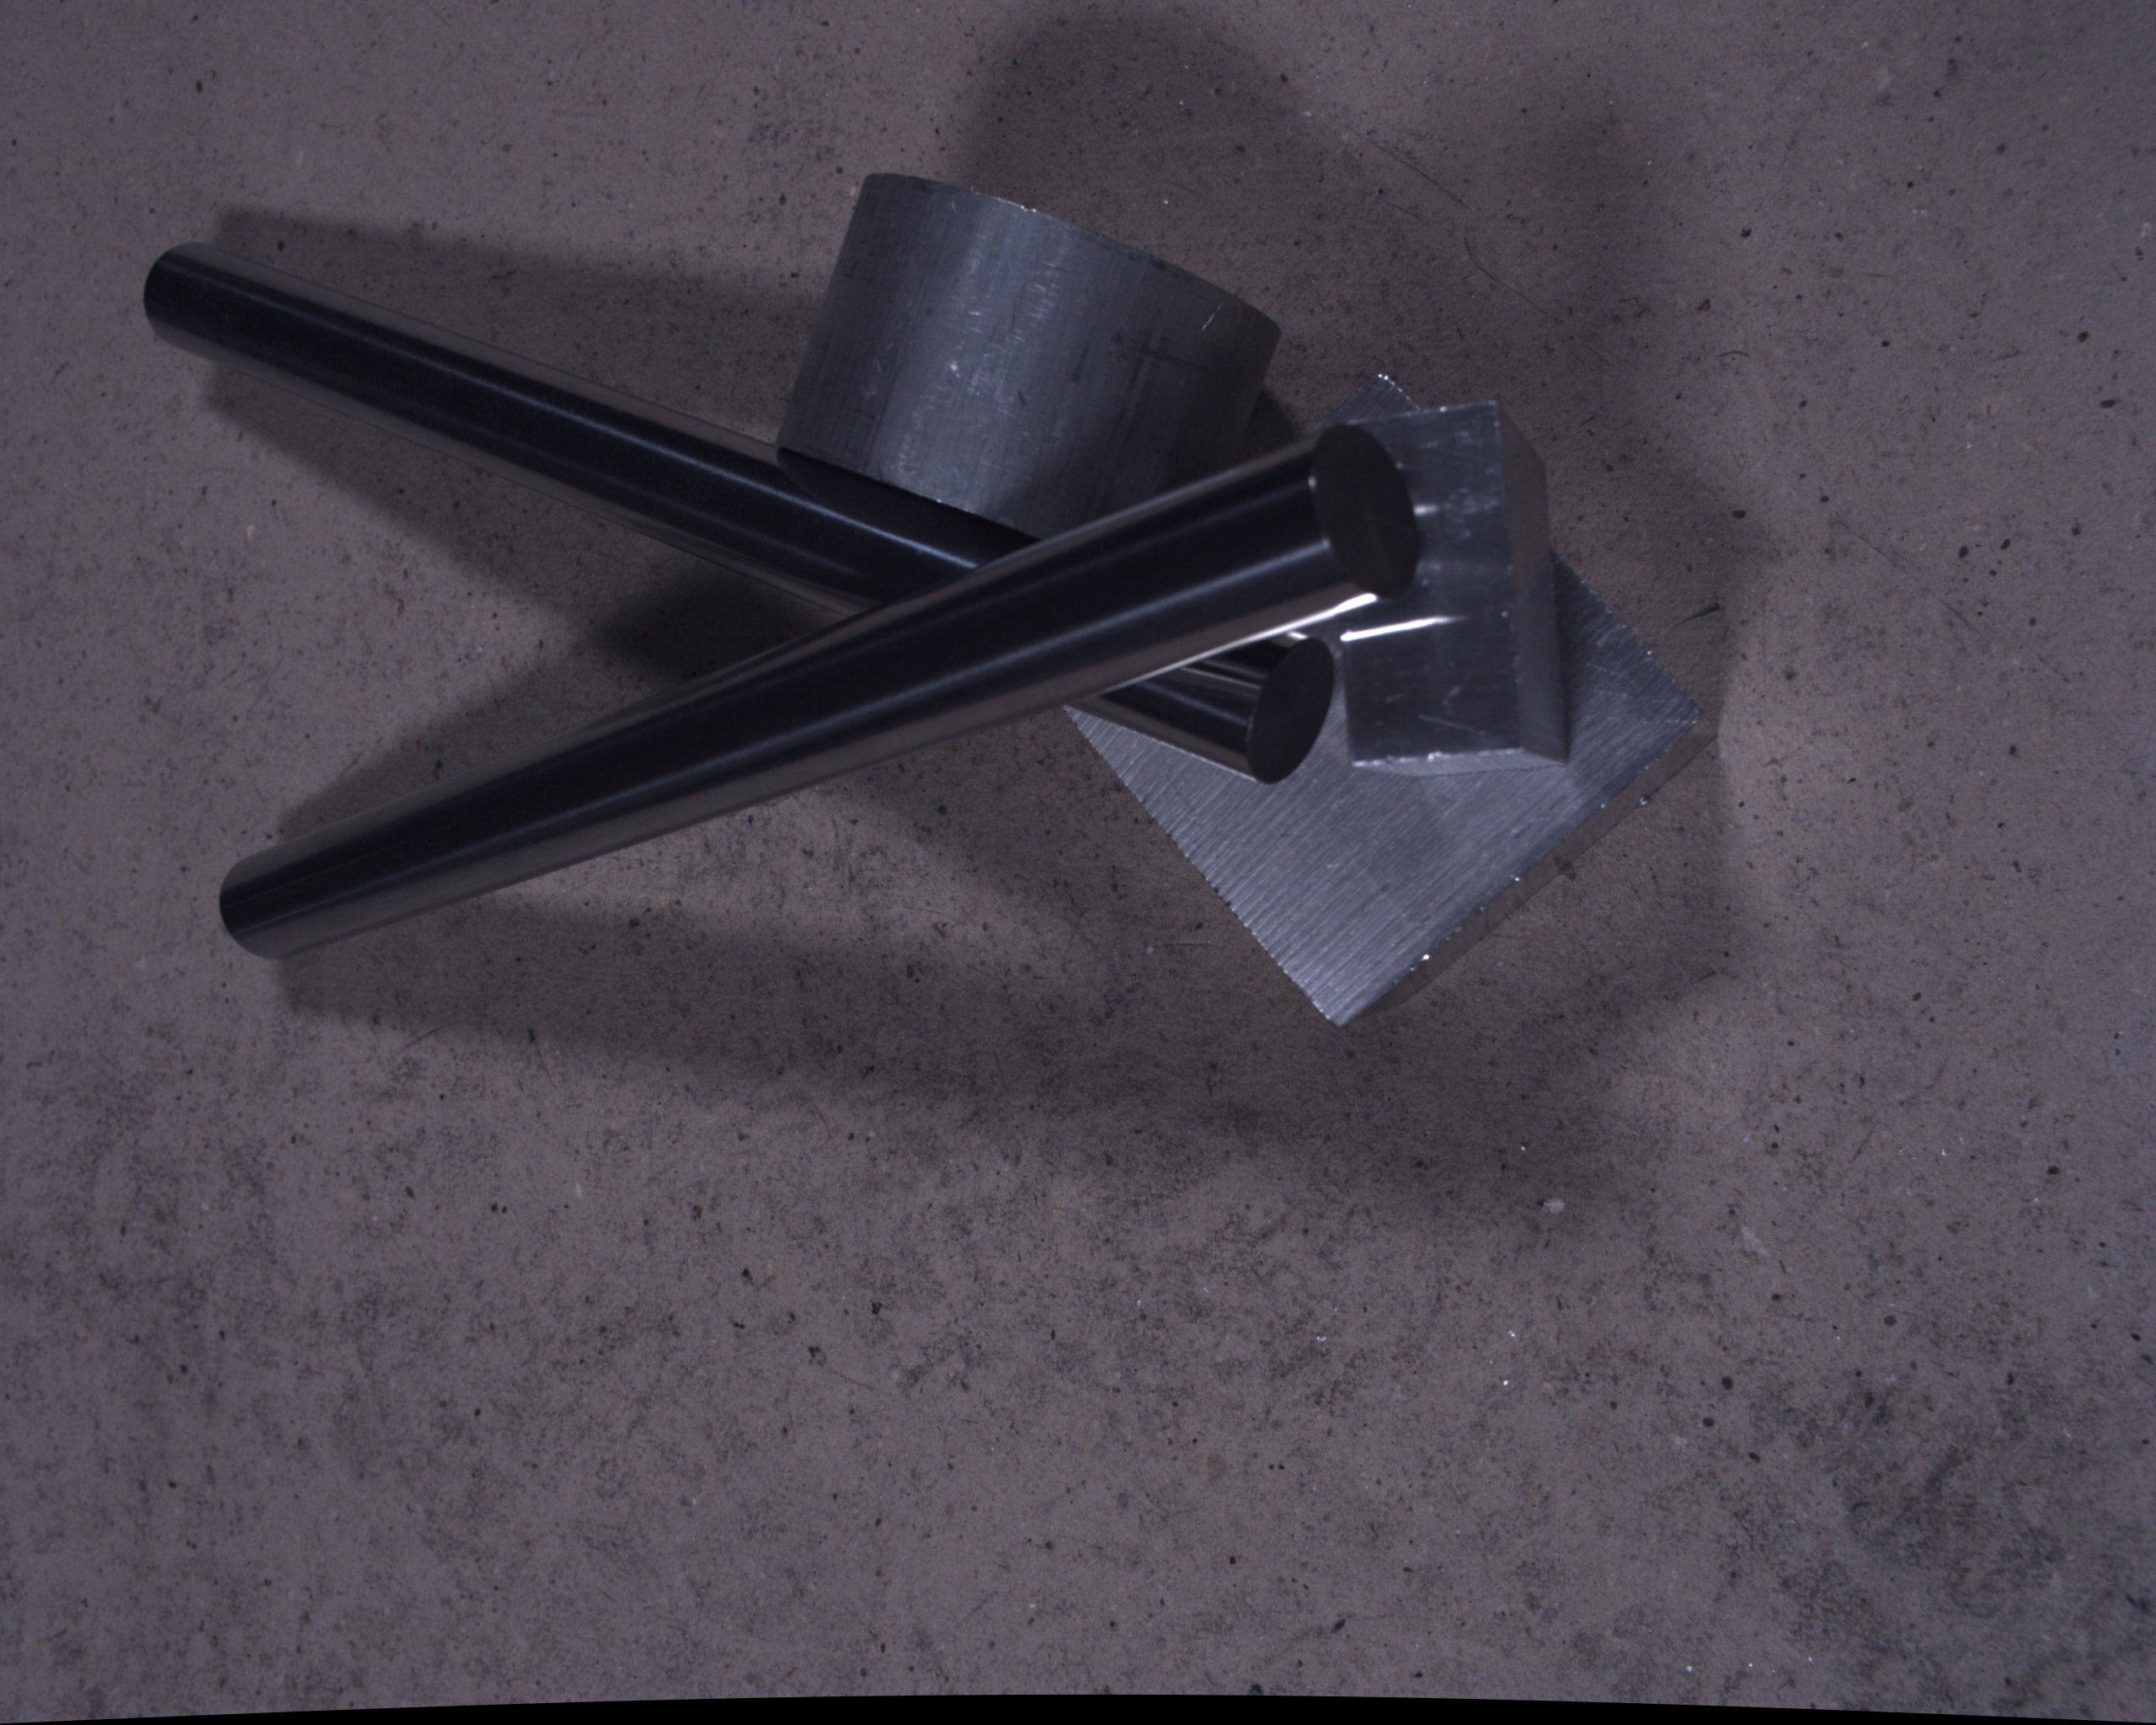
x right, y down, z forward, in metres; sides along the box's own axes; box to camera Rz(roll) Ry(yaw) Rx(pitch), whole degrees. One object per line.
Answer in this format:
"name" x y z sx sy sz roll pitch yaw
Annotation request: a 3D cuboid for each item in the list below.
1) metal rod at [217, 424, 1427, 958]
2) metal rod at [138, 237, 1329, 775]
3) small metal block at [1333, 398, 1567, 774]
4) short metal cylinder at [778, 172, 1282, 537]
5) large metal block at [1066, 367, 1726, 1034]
"metal rod" -0.072 -0.019 0.378 0.300 0.025 0.025 -14 85 40
"metal rod" -0.086 -0.079 0.409 0.300 0.025 0.025 24 98 29
"small metal block" 0.057 -0.040 0.320 0.025 0.050 0.050 -4 89 20
"short metal cylinder" -0.009 -0.087 0.385 0.080 0.080 0.050 22 97 18
"large metal block" 0.057 -0.027 0.375 0.080 0.050 0.080 -43 76 16
